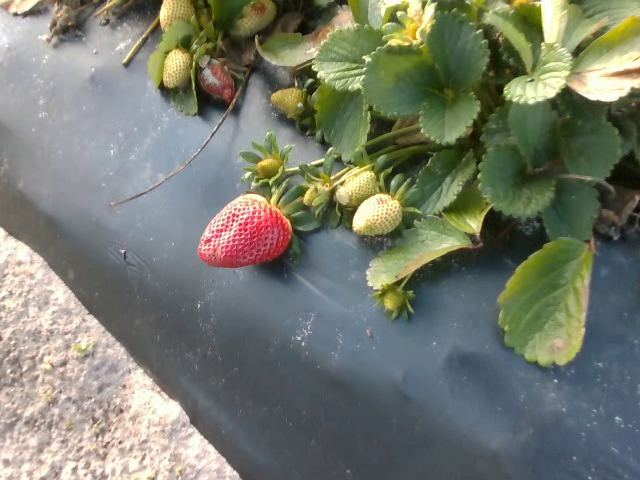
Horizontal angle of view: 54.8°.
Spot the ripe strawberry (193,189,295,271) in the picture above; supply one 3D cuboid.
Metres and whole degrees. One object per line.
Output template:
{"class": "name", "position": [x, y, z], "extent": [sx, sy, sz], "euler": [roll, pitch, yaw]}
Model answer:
{"class": "ripe strawberry", "position": [-0.055, -0.004, 0.421], "extent": [0.067, 0.052, 0.045], "euler": [-40, -21, -31]}
